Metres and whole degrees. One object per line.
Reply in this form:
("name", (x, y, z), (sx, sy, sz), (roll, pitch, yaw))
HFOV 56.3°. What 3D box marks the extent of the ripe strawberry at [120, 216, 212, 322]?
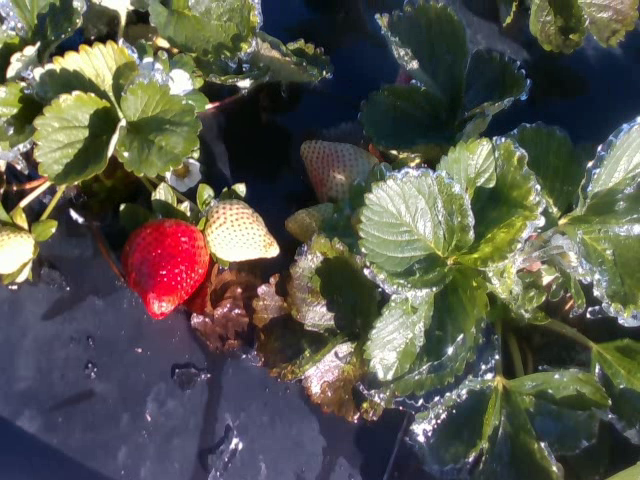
("ripe strawberry", (-0.065, 0.014, 0.246), (0.040, 0.042, 0.053), (-15, 32, 4))
